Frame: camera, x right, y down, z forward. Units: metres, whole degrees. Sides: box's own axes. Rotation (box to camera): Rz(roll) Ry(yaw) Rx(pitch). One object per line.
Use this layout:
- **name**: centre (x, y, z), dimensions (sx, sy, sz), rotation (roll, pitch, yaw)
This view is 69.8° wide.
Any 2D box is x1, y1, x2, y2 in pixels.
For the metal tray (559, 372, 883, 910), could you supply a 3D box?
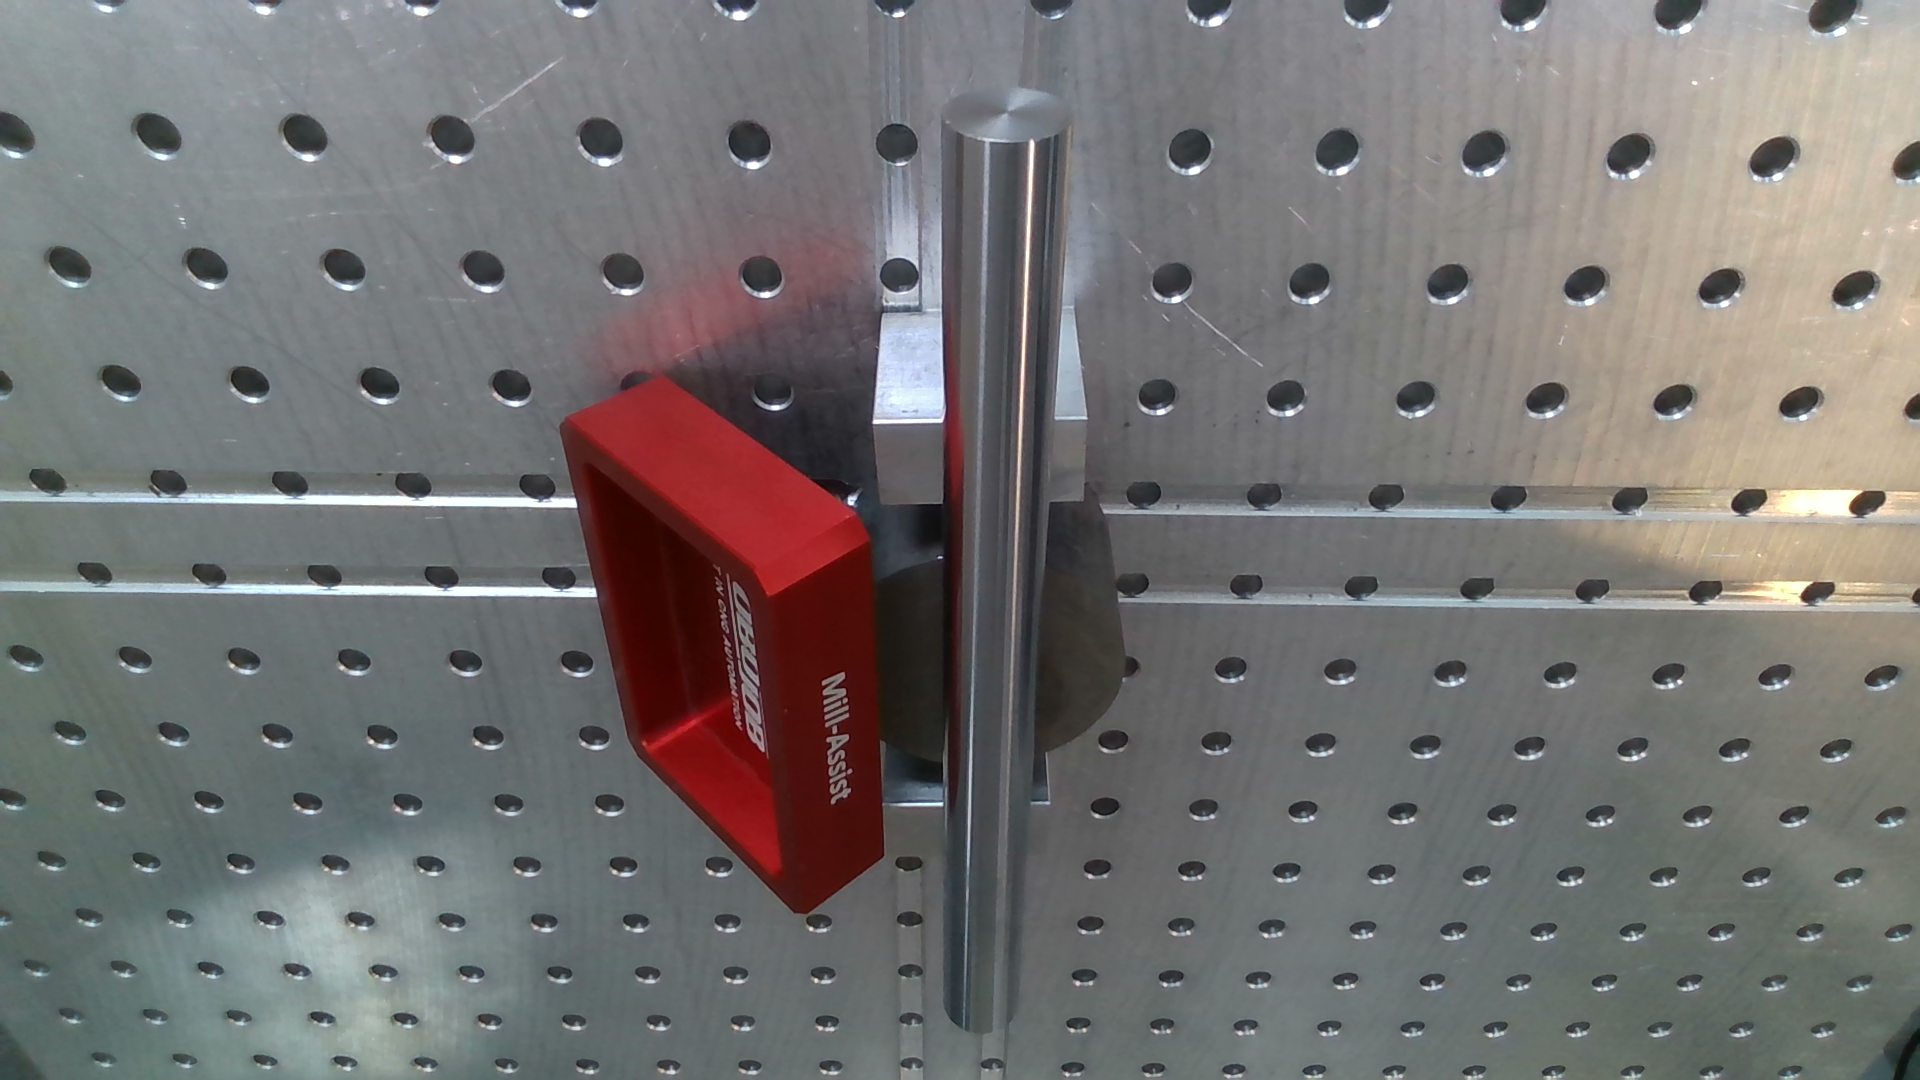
- **metal tray**: centre (-0.063, 0.030, 0.378), dimensions (0.030, 0.090, 0.130), rotation (-31, 139, -32)

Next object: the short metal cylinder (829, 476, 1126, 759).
- **short metal cylinder**: centre (0.005, 0.018, 0.391), dimensions (0.080, 0.050, 0.080), rotation (0, 130, 0)

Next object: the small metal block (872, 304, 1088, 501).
- **small metal block**: centre (0.005, -0.035, 0.346), dimensions (0.050, 0.050, 0.025), rotation (-1, 130, 1)

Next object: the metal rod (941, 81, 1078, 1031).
- **metal rod**: centre (0.008, 0.034, 0.355), dimensions (0.025, 0.025, 0.301), rotation (1, 130, 0)

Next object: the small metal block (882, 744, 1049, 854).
- **small metal block**: centre (0.002, 0.071, 0.436), dimensions (0.050, 0.050, 0.025), rotation (-1, 130, 1)
